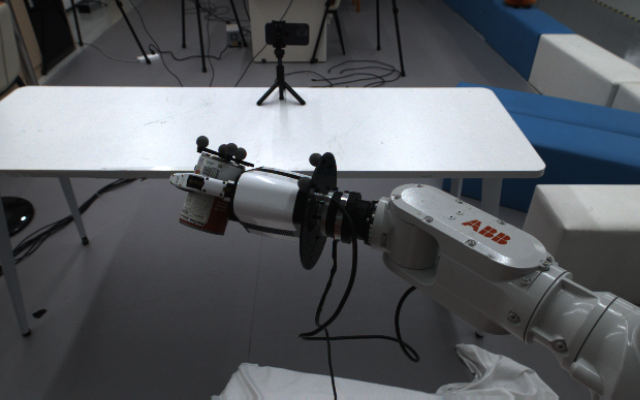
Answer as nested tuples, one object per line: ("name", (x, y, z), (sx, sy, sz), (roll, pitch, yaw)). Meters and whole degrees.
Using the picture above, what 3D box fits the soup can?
("soup can", (-0.151, -0.007, 0.682), (0.067, 0.101, 0.067), (18, -1, 0))
